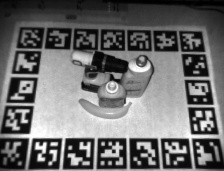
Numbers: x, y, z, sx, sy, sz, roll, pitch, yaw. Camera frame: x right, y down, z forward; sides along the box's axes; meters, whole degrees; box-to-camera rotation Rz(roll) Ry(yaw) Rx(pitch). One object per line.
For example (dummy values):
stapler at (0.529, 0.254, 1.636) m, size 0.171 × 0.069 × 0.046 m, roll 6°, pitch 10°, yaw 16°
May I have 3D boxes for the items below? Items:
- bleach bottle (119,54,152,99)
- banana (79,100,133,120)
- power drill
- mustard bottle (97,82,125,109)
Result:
bleach bottle at (0.069, -0.029, 0.713) m, size 0.102 × 0.251 × 0.067 m, roll 3°, pitch 66°, yaw 1°
banana at (-0.025, 0.087, 0.787) m, size 0.197 × 0.039 × 0.074 m, roll 5°, pitch 73°, yaw 2°
power drill at (-0.042, -0.043, 0.717) m, size 0.184 × 0.187 × 0.057 m, roll 13°, pitch 71°, yaw 1°
mustard bottle at (-0.003, 0.032, 0.715) m, size 0.096 × 0.192 × 0.058 m, roll 1°, pitch 71°, yaw -1°
